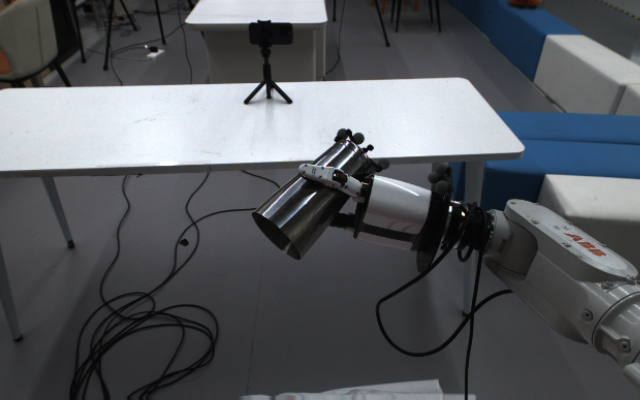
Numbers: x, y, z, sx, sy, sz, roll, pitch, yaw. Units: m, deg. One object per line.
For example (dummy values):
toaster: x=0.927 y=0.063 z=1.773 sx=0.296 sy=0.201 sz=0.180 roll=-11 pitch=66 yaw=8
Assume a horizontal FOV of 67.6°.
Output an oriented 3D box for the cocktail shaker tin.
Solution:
cocktail shaker tin: x=-0.005 y=-0.012 z=0.687 sx=0.093 sy=0.093 sz=0.170 roll=31 pitch=66 yaw=35
